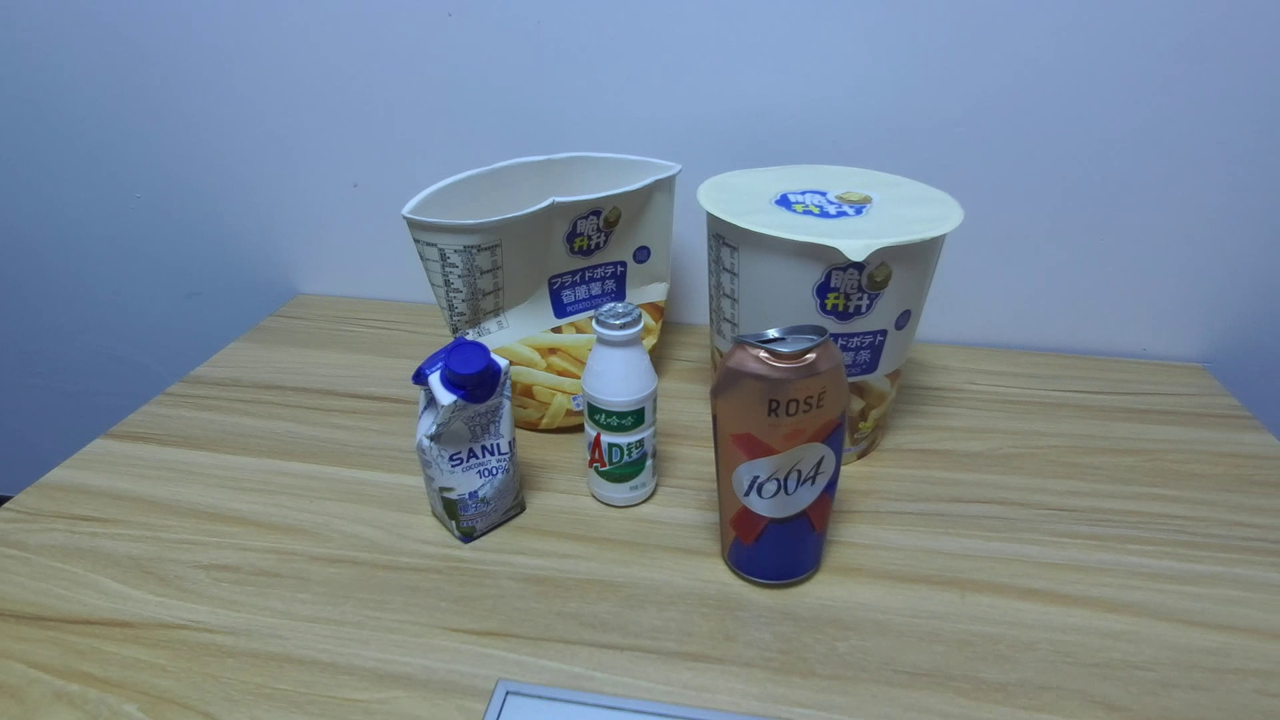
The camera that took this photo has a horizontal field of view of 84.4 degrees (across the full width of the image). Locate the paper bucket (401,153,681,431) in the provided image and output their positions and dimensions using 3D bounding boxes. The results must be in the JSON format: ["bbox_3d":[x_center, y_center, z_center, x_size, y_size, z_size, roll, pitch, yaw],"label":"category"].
[{"bbox_3d":[-0.064,-0.059,0.598,0.147,0.199,0.218,12,33,22],"label":"paper bucket"}]

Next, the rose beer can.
[{"bbox_3d":[0.085,0.059,0.431,0.069,0.168,0.069,10,30,23],"label":"rose beer can"}]

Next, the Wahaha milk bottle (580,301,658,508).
[{"bbox_3d":[-0.013,0.032,0.492,0.053,0.147,0.053,0,31,0],"label":"Wahaha milk bottle"}]

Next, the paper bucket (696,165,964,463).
[{"bbox_3d":[0.136,-0.035,0.564,0.198,0.195,0.198,0,30,1],"label":"paper bucket"}]

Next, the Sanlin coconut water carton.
[{"bbox_3d":[-0.118,0.049,0.473,0.061,0.144,0.069,-25,39,-35],"label":"Sanlin coconut water carton"}]
